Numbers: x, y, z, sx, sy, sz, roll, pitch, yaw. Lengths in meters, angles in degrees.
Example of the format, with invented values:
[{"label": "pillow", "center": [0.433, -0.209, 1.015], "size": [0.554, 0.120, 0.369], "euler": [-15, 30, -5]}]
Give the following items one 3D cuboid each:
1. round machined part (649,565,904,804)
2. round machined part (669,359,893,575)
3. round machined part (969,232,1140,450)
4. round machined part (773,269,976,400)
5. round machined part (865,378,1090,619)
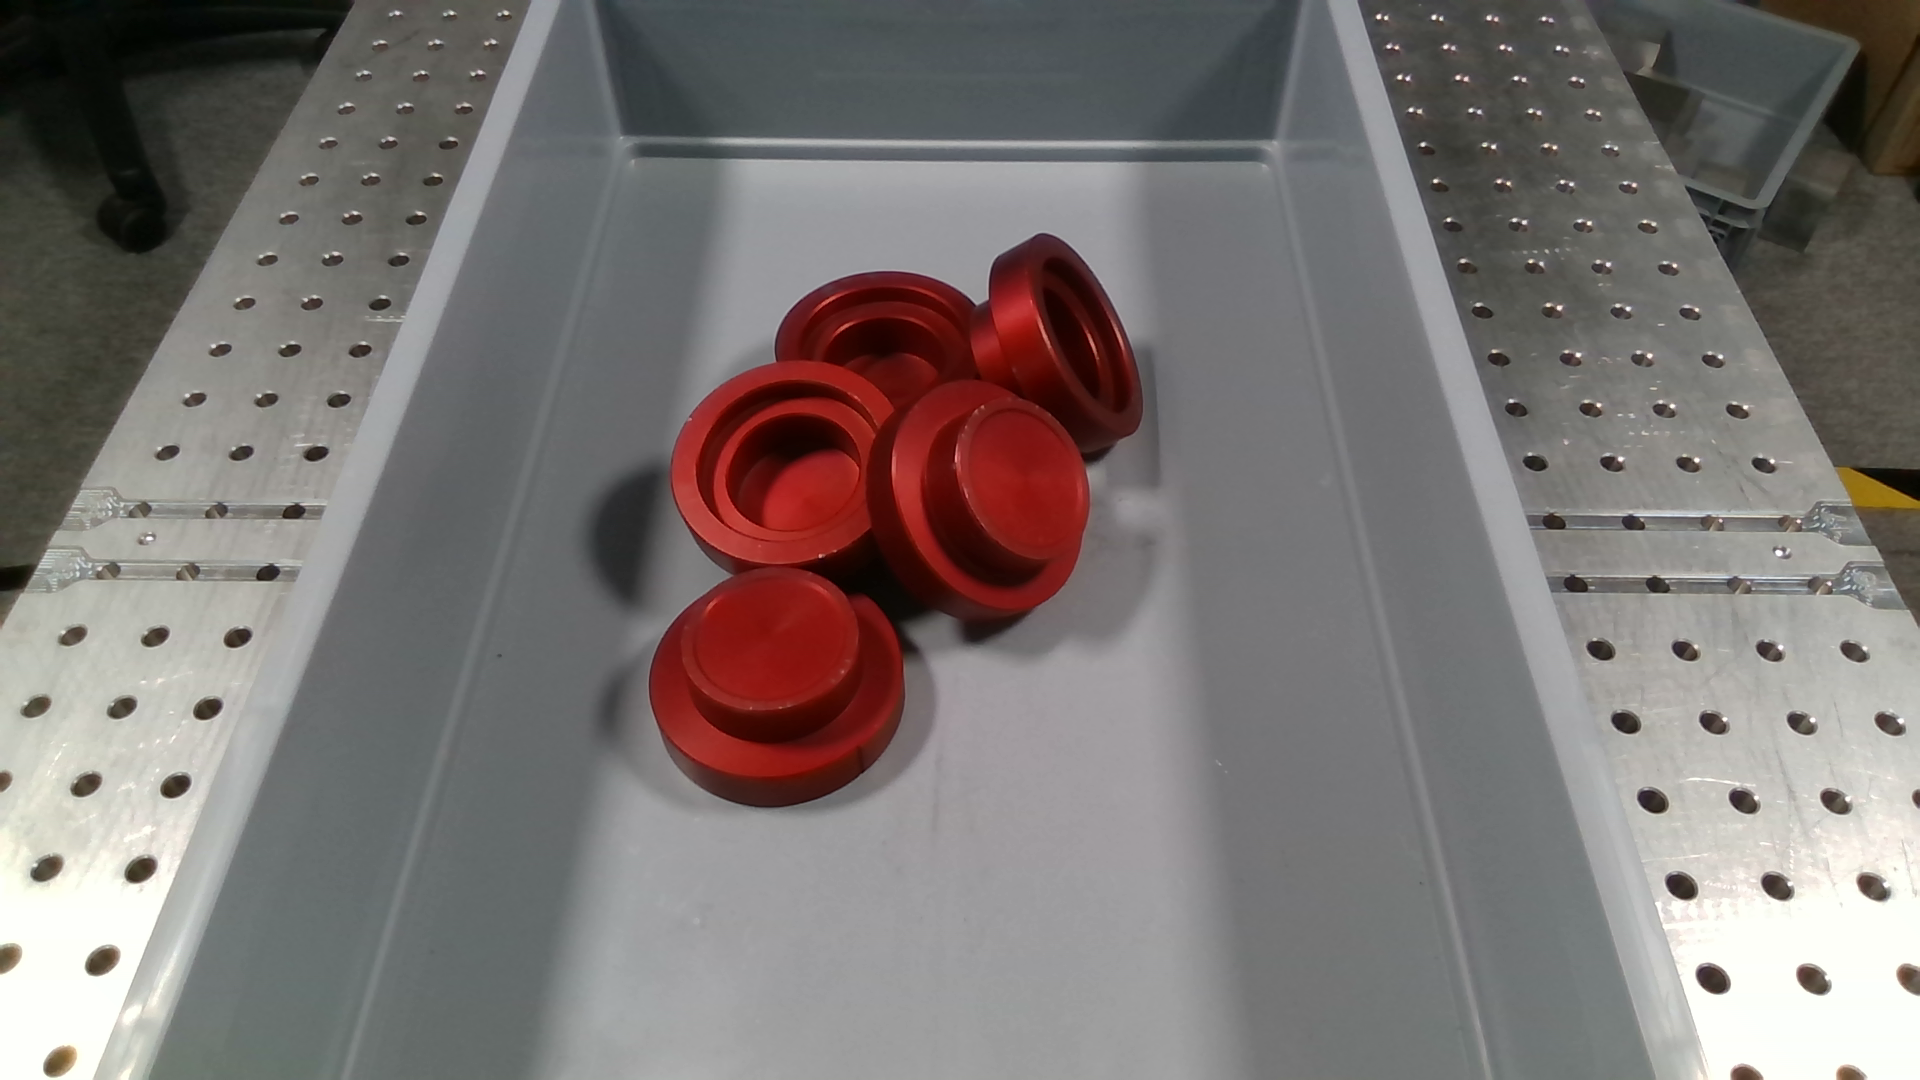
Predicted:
[{"label": "round machined part", "center": [-0.071, 0.049, 0.533], "size": [0.098, 0.042, 0.098], "euler": [0, 50, 0]}, {"label": "round machined part", "center": [-0.069, -0.024, 0.579], "size": [0.098, 0.042, 0.098], "euler": [-3, 63, 5]}, {"label": "round machined part", "center": [0.040, -0.085, 0.622], "size": [0.042, 0.098, 0.098], "euler": [-23, 44, 28]}, {"label": "round machined part", "center": [-0.035, -0.078, 0.639], "size": [0.098, 0.042, 0.098], "euler": [0, 50, 0]}, {"label": "round machined part", "center": [0.014, -0.019, 0.555], "size": [0.098, 0.042, 0.098], "euler": [14, 67, -35]}]
